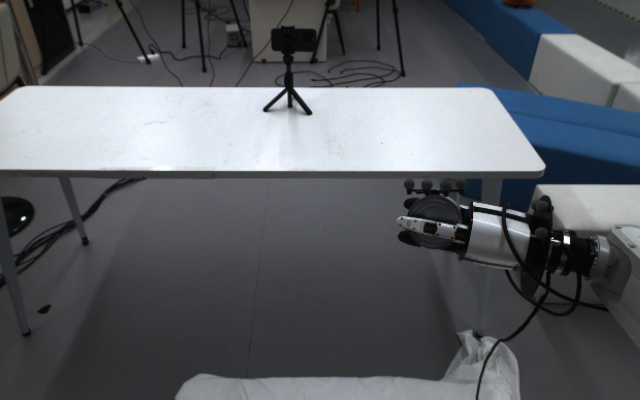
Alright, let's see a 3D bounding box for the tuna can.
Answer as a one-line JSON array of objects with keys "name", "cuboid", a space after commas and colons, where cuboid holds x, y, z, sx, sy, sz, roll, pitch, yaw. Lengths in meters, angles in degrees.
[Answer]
[{"name": "tuna can", "cuboid": [0.182, 0.032, 0.767, 0.085, 0.085, 0.034, 15, 10, 18]}]
